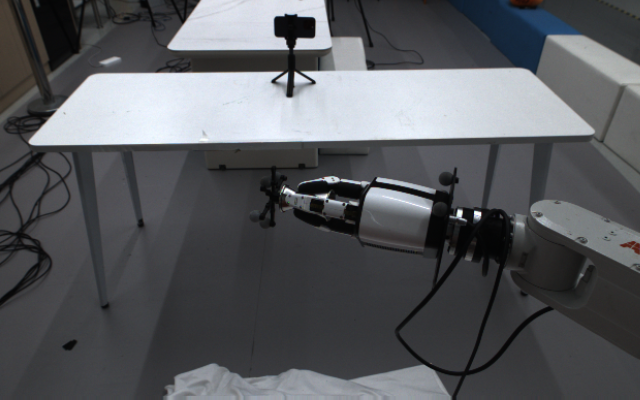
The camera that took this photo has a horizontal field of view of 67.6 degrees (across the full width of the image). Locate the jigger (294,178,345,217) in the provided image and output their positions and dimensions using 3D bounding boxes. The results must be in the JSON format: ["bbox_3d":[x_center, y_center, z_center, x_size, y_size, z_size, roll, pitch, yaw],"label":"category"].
[{"bbox_3d":[-0.011,-0.002,0.661,0.071,0.043,0.043,8,35,16],"label":"jigger"}]
